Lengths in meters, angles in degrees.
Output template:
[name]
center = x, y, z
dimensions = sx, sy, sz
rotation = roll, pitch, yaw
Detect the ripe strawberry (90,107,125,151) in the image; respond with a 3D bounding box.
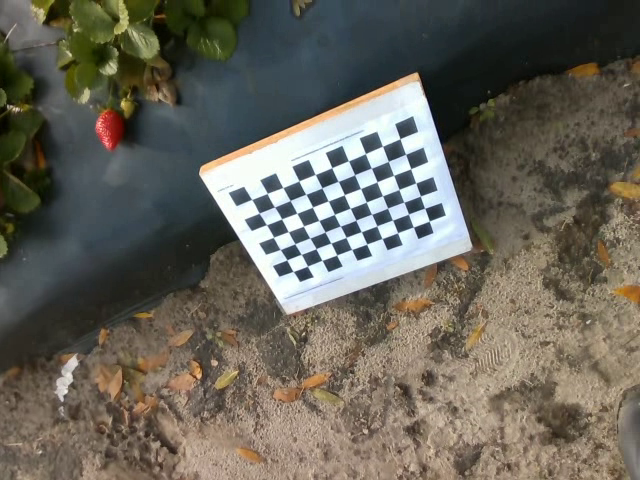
[ripe strawberry]
center = -0.275, -0.141, 0.717
dimensions = 0.045, 0.058, 0.050
rotation = -18, -13, 9
